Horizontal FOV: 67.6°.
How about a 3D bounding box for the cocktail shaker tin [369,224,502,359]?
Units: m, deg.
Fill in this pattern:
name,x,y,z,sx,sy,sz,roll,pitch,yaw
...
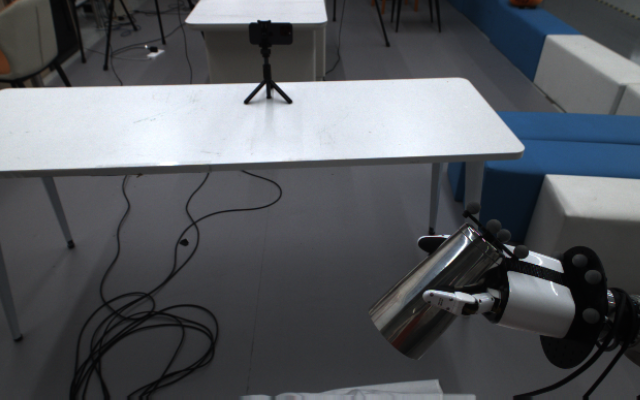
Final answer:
name,x,y,z,sx,sy,sz,roll,pitch,yaw
cocktail shaker tin,0.154,0.107,0.629,0.093,0.170,0.093,41,13,-12
